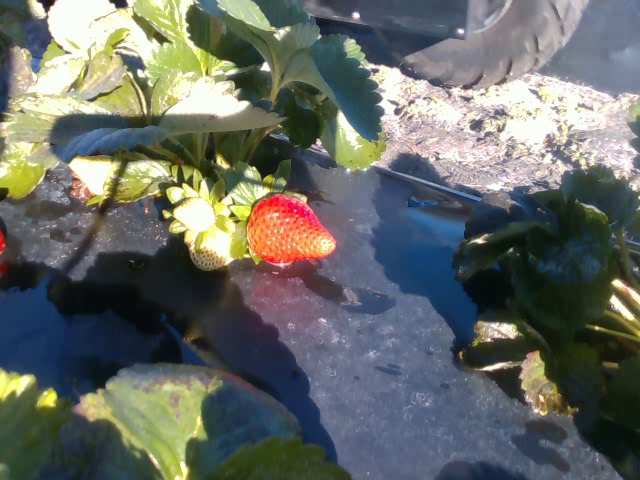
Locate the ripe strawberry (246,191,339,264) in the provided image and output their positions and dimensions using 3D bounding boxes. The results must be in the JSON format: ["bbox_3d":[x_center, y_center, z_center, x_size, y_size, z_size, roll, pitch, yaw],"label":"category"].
[{"bbox_3d":[-0.013,-0.002,0.344,0.064,0.050,0.052,21,-20,36],"label":"ripe strawberry"}]
